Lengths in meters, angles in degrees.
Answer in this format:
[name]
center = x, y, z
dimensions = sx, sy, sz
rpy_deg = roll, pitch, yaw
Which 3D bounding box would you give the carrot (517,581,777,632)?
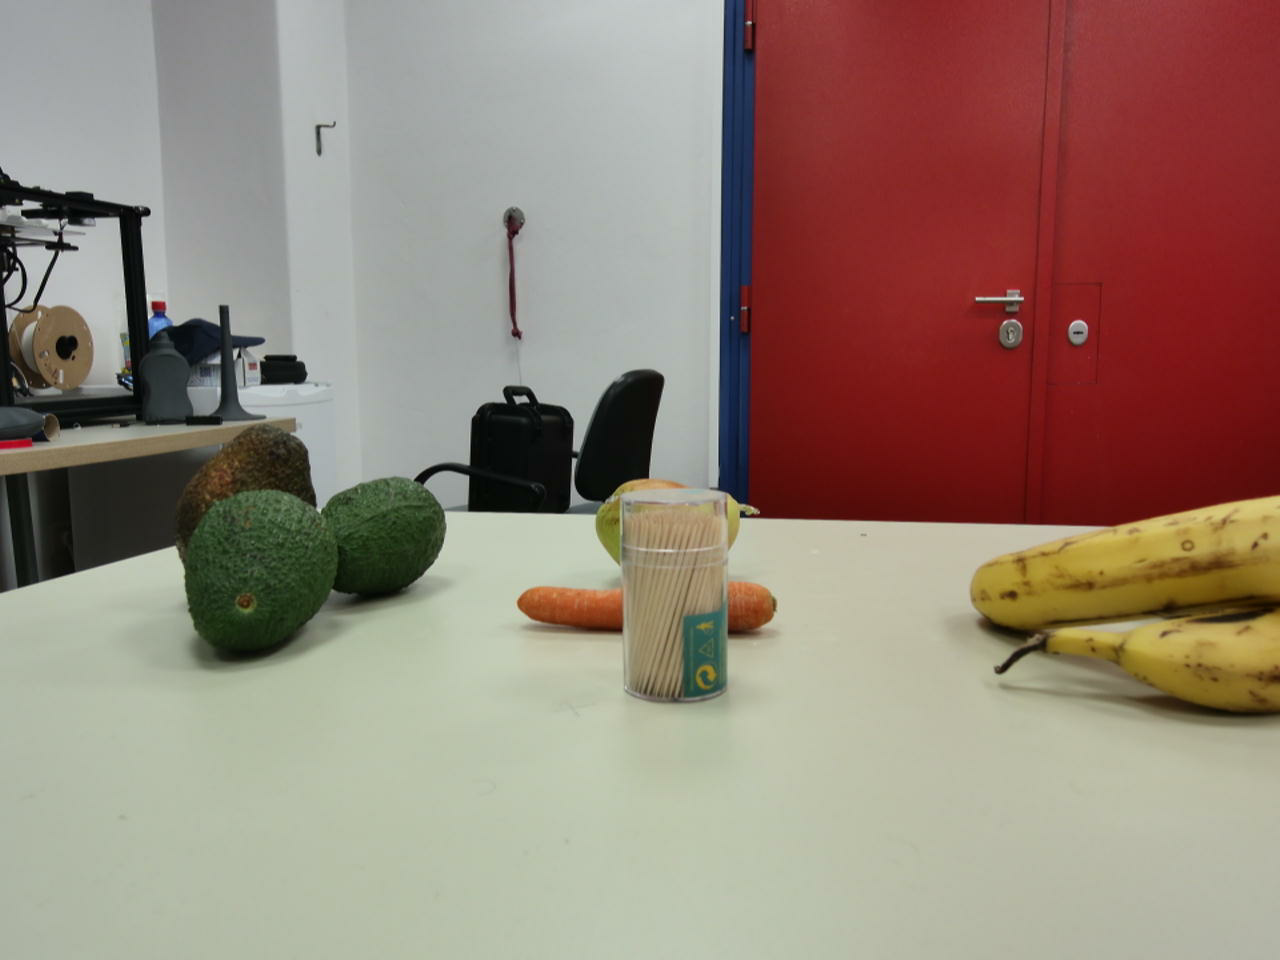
[carrot]
center = 0.002, 0.059, 0.469
dimensions = 0.122, 0.023, 0.024
rpy_deg = 1, 4, 9
